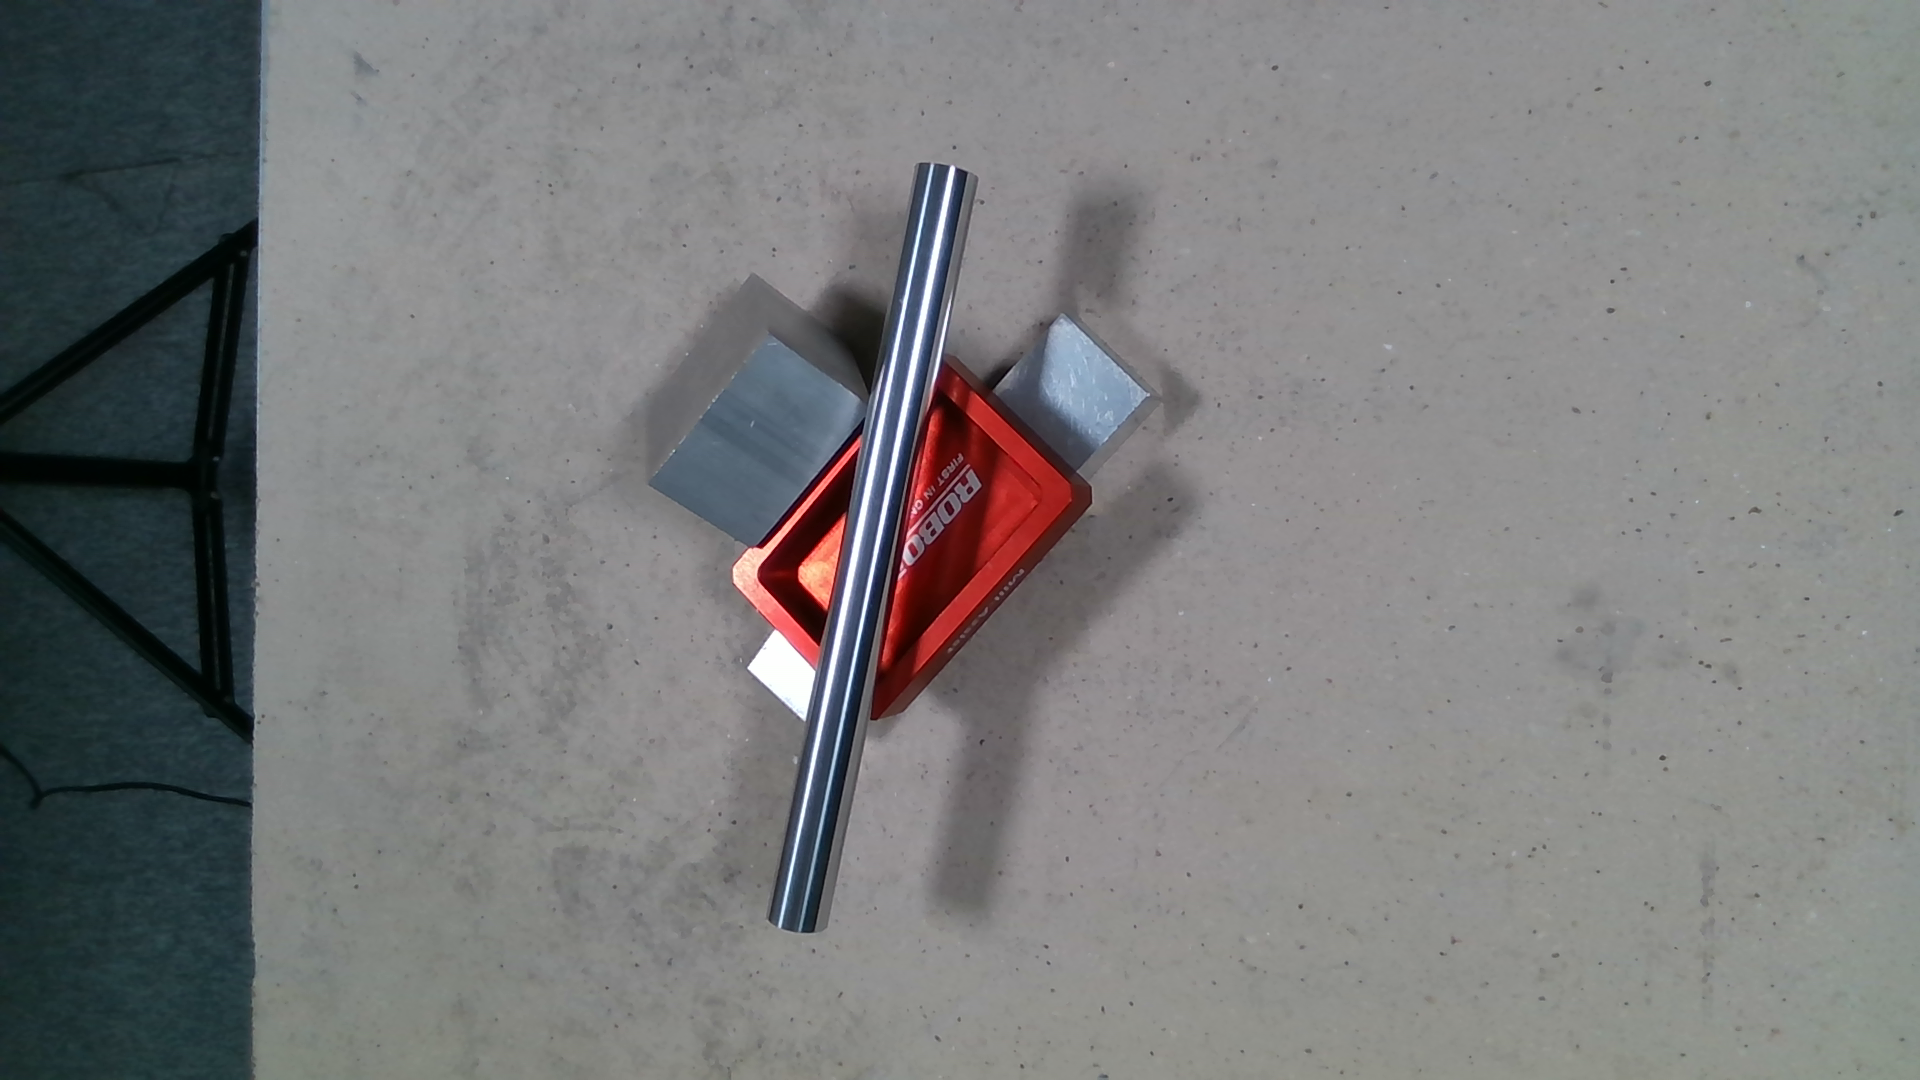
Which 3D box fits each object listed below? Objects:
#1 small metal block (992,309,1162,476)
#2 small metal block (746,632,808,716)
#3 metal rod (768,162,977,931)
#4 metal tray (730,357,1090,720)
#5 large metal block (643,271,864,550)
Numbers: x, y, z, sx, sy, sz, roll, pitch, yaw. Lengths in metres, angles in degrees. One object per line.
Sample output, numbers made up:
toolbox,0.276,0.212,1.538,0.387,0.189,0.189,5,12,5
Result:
small metal block,0.046,-0.058,0.568,0.050,0.025,0.050,46,105,14
small metal block,-0.057,0.052,0.607,0.050,0.025,0.050,40,103,15
metal rod,-0.035,0.005,0.540,0.025,0.025,0.300,13,95,20
metal tray,-0.022,-0.002,0.564,0.090,0.030,0.130,45,105,14
large metal block,-0.089,-0.056,0.580,0.050,0.080,0.080,34,105,-26
